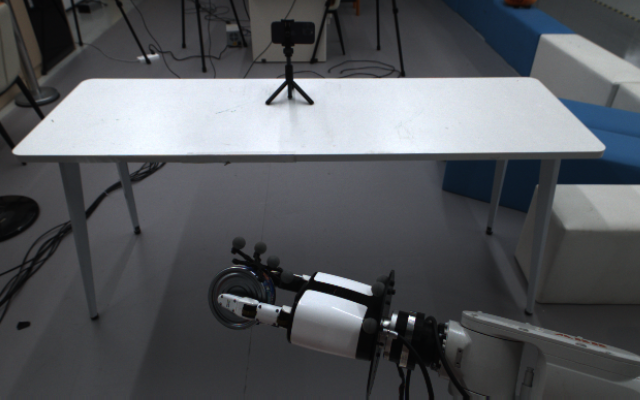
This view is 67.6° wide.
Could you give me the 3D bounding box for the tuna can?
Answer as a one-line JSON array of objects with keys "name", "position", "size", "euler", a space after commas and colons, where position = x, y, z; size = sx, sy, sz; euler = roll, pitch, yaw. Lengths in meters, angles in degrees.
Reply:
[{"name": "tuna can", "position": [-0.102, 0.128, 0.645], "size": [0.085, 0.085, 0.034], "euler": [12, 4, 14]}]
